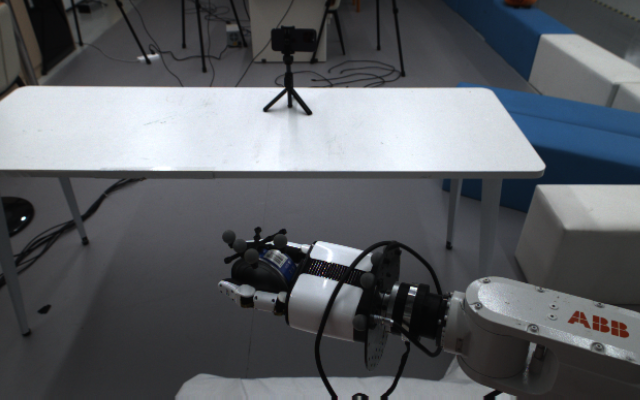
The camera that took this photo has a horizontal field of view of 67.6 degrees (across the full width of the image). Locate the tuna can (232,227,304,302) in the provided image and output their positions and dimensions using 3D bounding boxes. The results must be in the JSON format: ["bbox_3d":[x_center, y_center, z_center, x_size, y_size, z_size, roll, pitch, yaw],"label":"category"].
[{"bbox_3d":[-0.068,0.099,0.628,0.085,0.085,0.034,17,36,20],"label":"tuna can"}]
